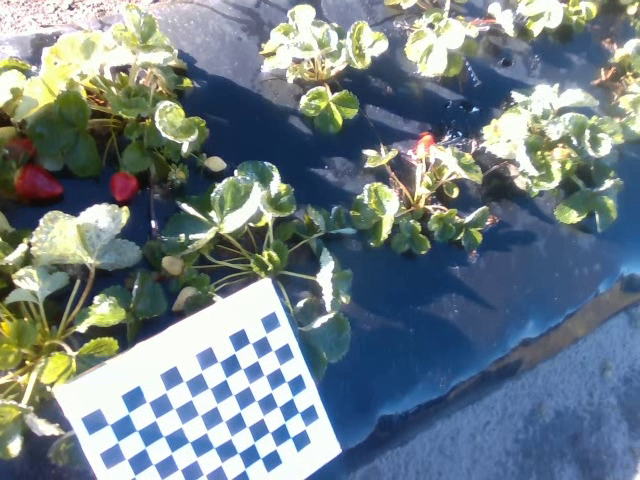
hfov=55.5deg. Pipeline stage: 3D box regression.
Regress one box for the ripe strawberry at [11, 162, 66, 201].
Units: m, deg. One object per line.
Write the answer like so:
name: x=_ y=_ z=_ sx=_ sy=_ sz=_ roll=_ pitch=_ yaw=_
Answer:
ripe strawberry: x=-0.334 y=-0.068 z=0.720 sx=0.056 sy=0.044 sz=0.040 roll=27 pitch=-19 yaw=-22

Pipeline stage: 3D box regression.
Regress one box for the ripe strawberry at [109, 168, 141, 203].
ripe strawberry: x=-0.245 y=-0.065 z=0.751 sx=0.039 sy=0.047 sz=0.040 roll=16 pitch=-25 yaw=-26
